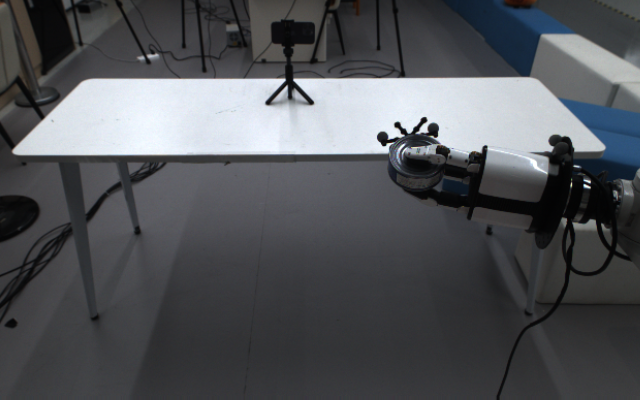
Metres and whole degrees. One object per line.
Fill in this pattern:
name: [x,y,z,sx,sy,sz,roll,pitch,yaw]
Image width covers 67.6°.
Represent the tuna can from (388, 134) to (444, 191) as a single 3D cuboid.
tuna can: [0.147,-0.059,0.725,0.085,0.034,0.085,-3,59,5]
